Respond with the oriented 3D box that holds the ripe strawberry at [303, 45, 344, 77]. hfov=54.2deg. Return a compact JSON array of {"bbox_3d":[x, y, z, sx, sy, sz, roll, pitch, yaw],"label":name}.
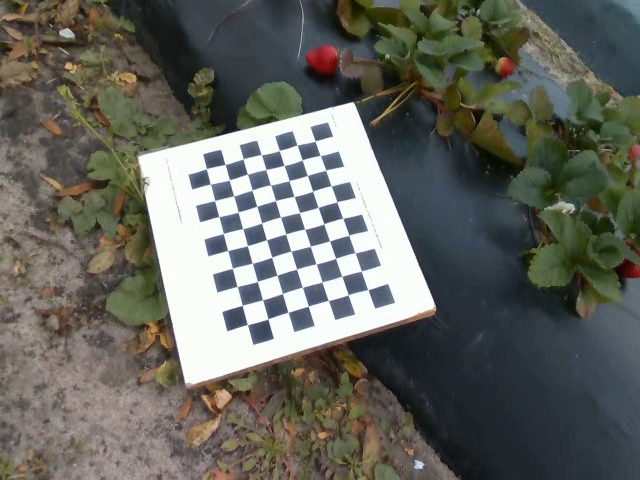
[{"bbox_3d":[-0.003,-0.166,0.535,0.033,0.029,0.022,-2,-30,-1],"label":"ripe strawberry"}]
